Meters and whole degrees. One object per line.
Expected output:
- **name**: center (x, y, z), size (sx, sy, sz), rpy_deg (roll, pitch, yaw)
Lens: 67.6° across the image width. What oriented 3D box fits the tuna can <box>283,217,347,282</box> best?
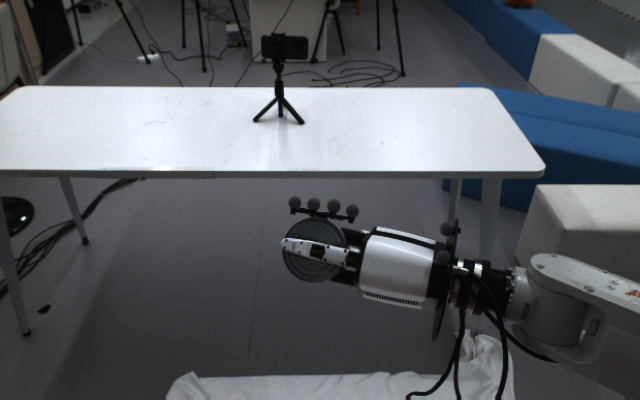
- **tuna can**: center (-0.004, 0.065, 0.643), size (0.085, 0.085, 0.034), rpy_deg (11, -7, 13)
